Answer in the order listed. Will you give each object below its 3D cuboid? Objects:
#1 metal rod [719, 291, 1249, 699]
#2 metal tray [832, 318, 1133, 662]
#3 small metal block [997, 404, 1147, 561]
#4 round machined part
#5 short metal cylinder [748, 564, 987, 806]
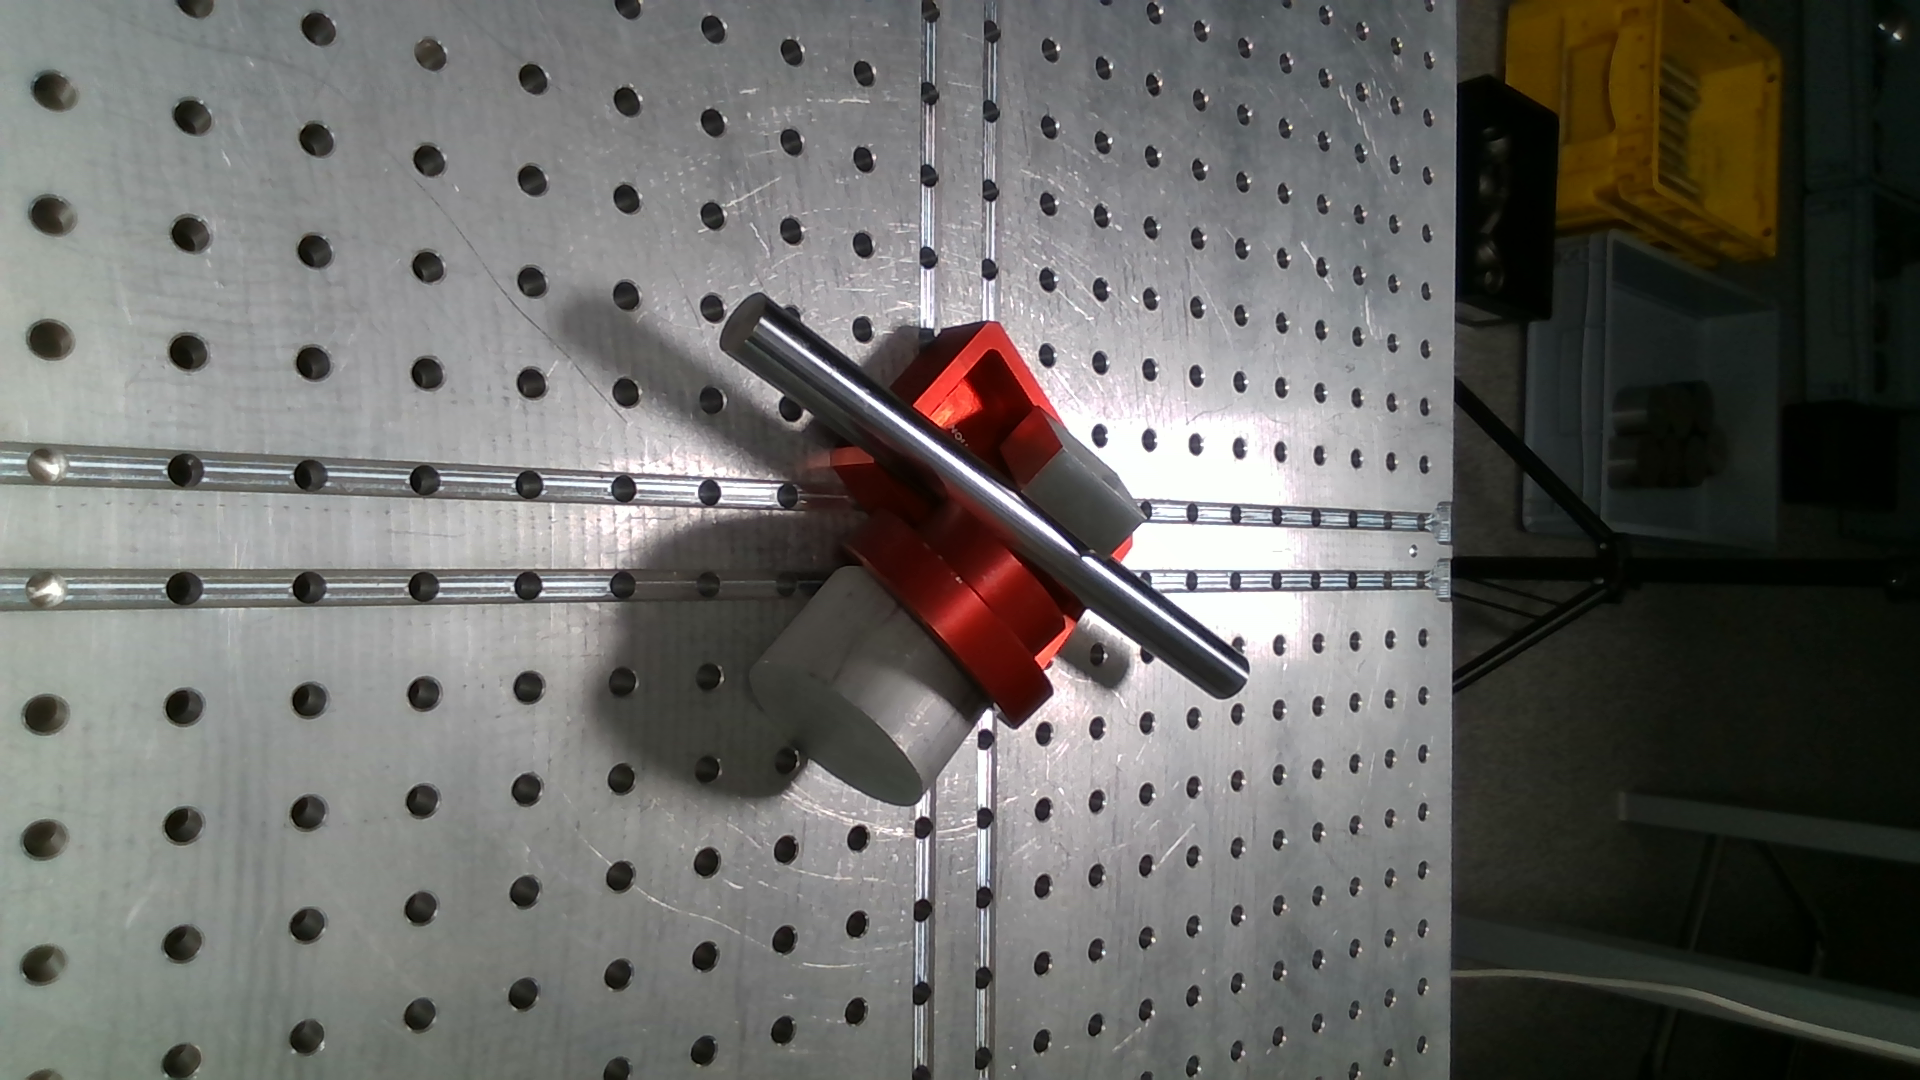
[{"bbox_3d":[0.025,-0.006,0.568,0.301,0.025,0.025,35,68,-35],"label":"metal rod"},{"bbox_3d":[0.014,-0.018,0.594,0.090,0.030,0.130,-51,120,-28],"label":"metal tray"},{"bbox_3d":[0.046,-0.025,0.580,0.050,0.050,0.025,38,104,-23],"label":"small metal block"},{"bbox_3d":[0.003,0.023,0.527,0.042,0.098,0.098,-43,118,-7],"label":"round machined part"},{"bbox_3d":[-0.033,0.055,0.521,0.050,0.080,0.080,-51,120,-28],"label":"short metal cylinder"}]
